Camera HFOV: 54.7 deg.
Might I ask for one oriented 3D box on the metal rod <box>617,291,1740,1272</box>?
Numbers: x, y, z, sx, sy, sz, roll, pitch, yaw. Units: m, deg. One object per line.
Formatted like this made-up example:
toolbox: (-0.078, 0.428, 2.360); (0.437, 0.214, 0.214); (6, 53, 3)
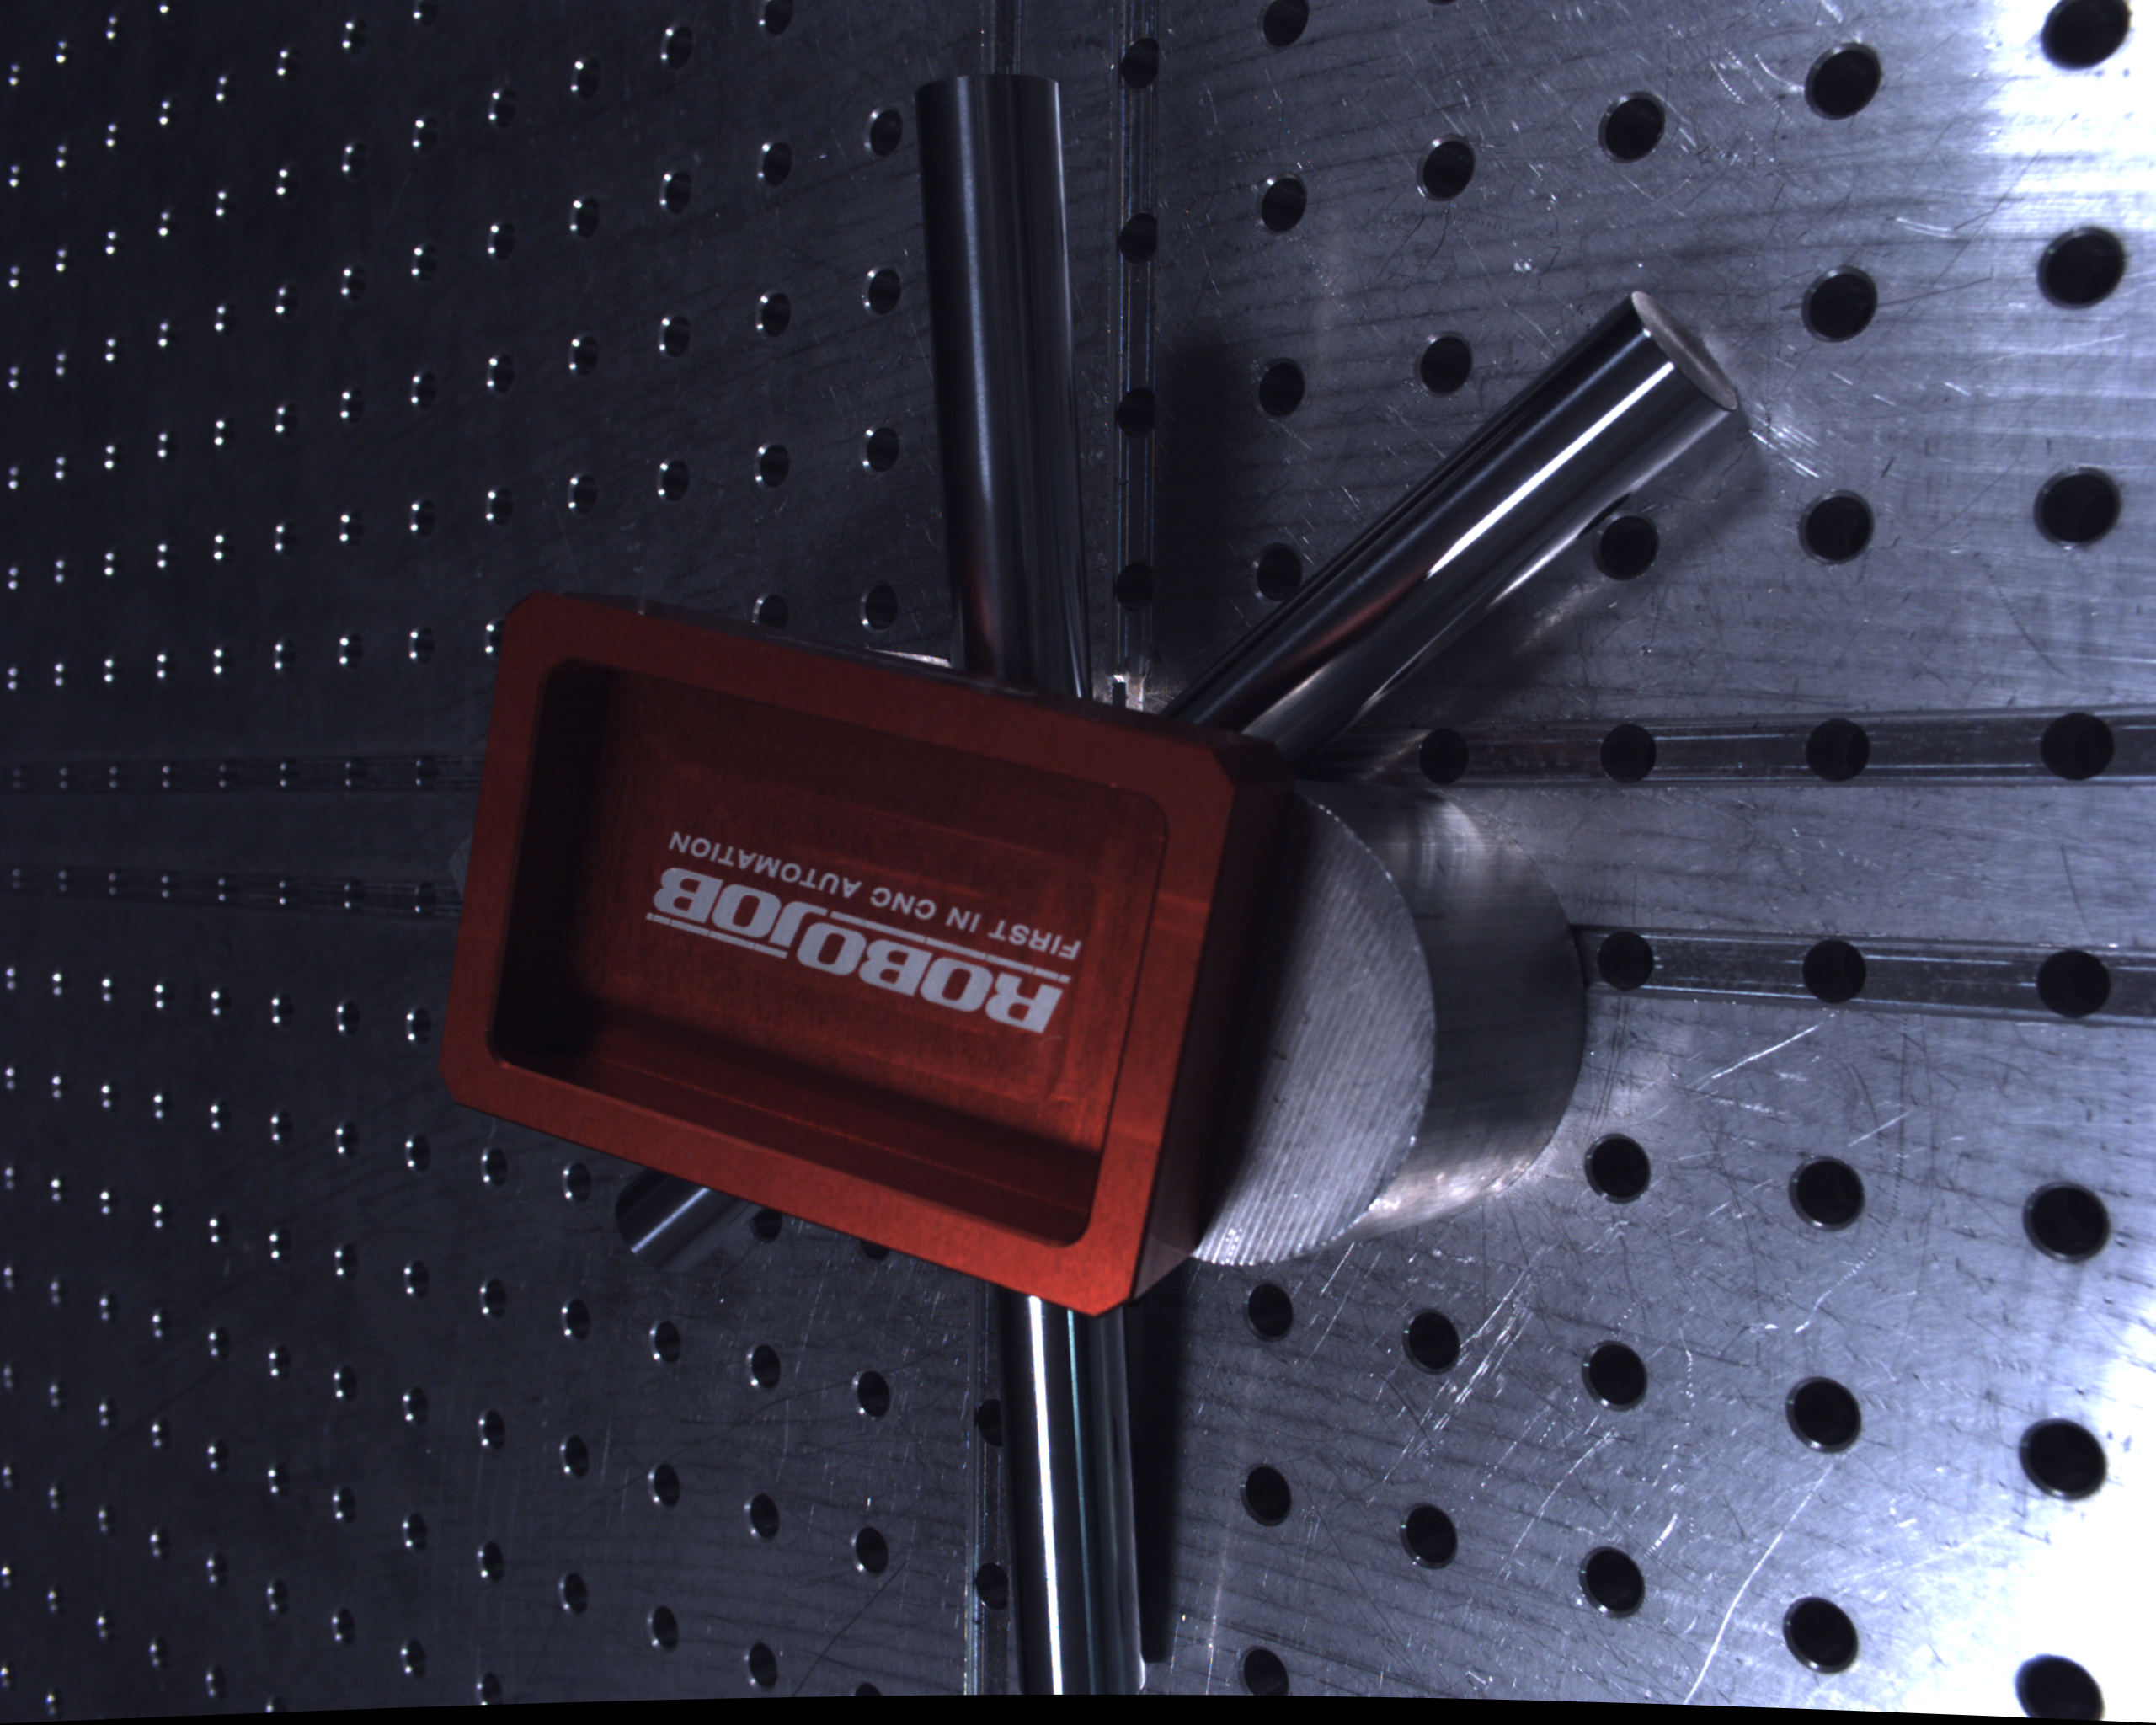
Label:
metal rod: (0.000, 0.002, 0.408); (0.299, 0.025, 0.025); (-41, 66, 32)

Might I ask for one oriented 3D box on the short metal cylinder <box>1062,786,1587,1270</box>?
short metal cylinder: (0.039, 0.026, 0.358); (0.080, 0.050, 0.079); (0, 90, 39)

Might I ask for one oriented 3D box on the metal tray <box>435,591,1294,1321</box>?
metal tray: (-0.038, 0.011, 0.344); (0.130, 0.030, 0.089); (14, 99, 20)

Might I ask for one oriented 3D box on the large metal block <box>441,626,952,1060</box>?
large metal block: (-0.068, -0.001, 0.426); (0.080, 0.081, 0.050); (-41, 65, 32)

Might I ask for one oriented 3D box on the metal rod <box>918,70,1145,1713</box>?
metal rod: (-0.007, 0.013, 0.384); (0.025, 0.025, 0.298); (5, 102, 39)
